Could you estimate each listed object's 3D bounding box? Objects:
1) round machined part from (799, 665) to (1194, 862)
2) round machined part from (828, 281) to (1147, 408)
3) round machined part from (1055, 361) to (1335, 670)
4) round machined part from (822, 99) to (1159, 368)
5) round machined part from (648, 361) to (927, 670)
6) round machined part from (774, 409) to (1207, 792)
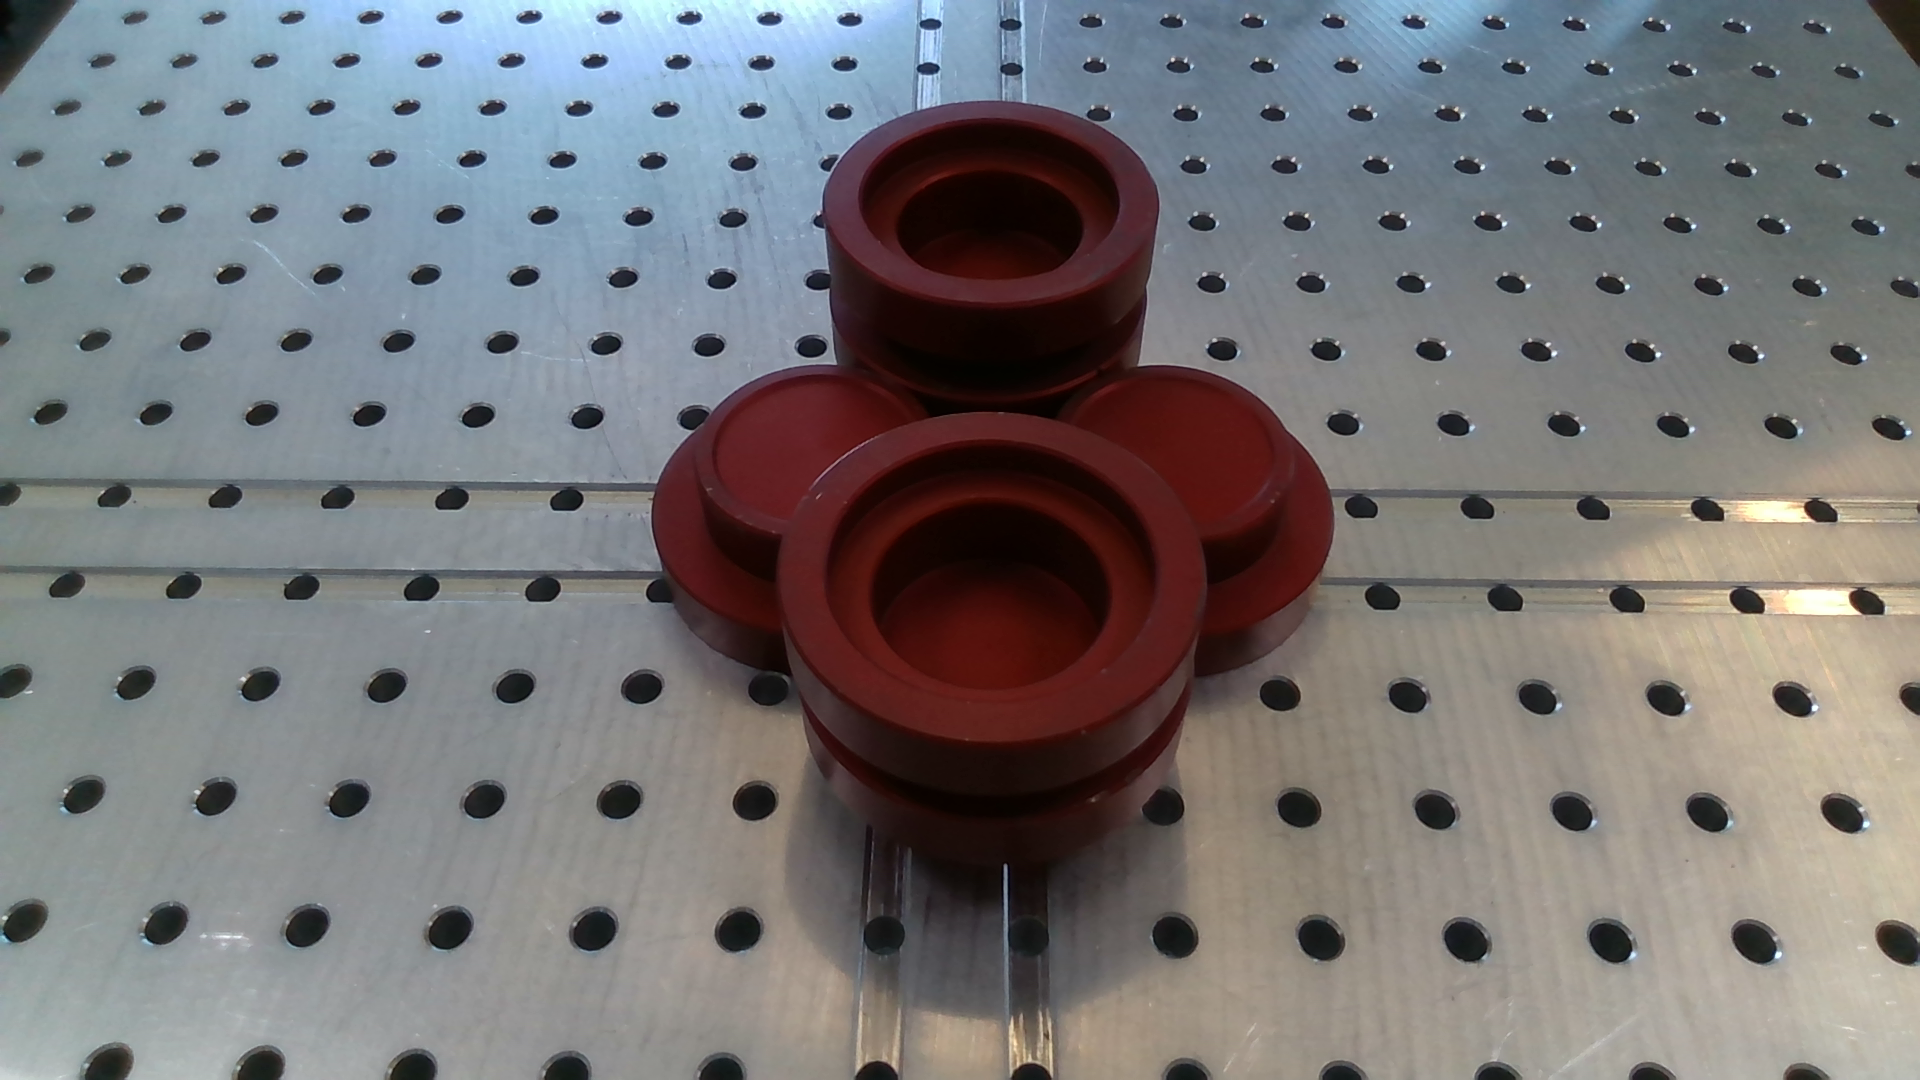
[{"bbox_3d":[0.008,0.038,0.353,0.098,0.042,0.098,0,50,0],"label":"round machined part"},{"bbox_3d":[0.008,-0.065,0.440,0.098,0.042,0.098,0,50,0],"label":"round machined part"},{"bbox_3d":[0.059,-0.013,0.396,0.098,0.042,0.098,0,50,0],"label":"round machined part"},{"bbox_3d":[0.009,-0.088,0.417,0.098,0.042,0.098,0,50,0],"label":"round machined part"},{"bbox_3d":[-0.040,-0.014,0.396,0.098,0.042,0.098,0,50,0],"label":"round machined part"},{"bbox_3d":[0.007,0.018,0.329,0.098,0.042,0.098,0,50,0],"label":"round machined part"}]
